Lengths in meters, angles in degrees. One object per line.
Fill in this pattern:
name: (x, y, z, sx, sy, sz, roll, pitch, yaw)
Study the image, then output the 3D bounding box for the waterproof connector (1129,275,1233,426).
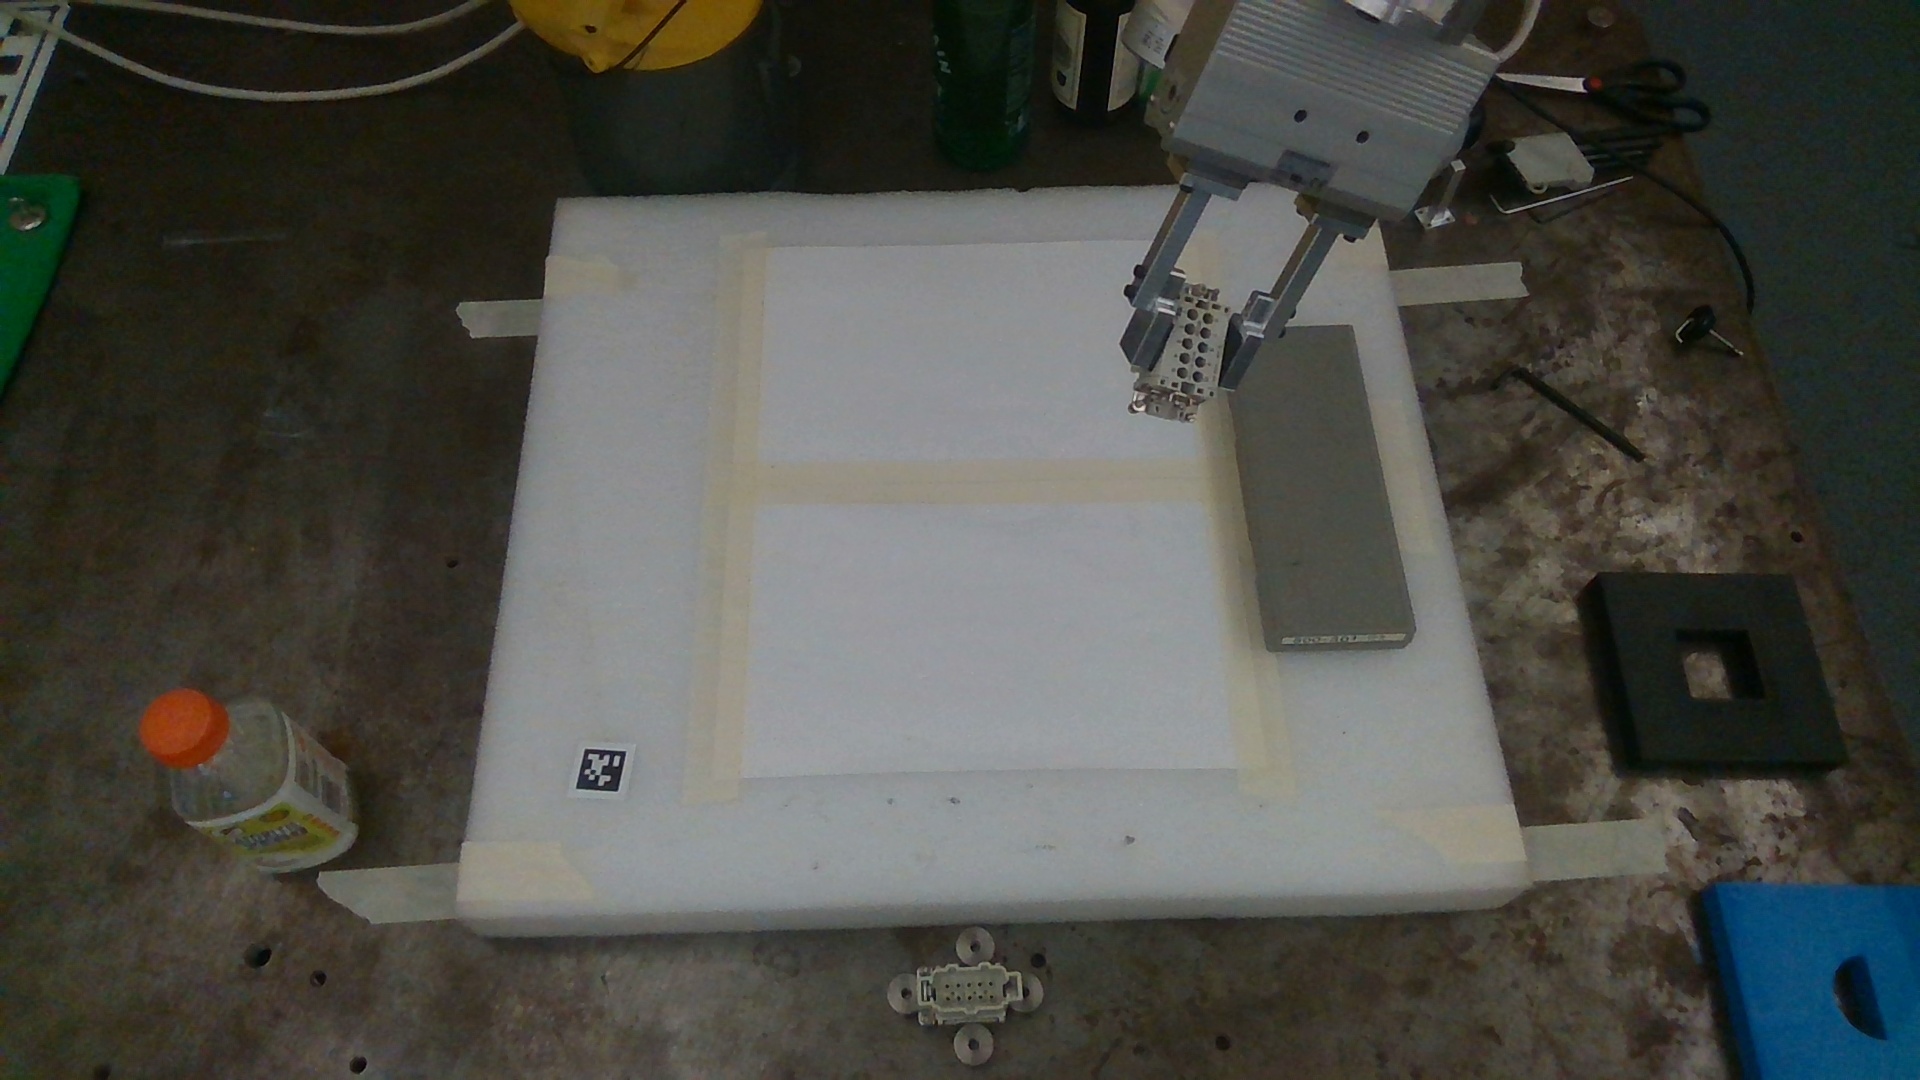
waterproof connector: (0.103, -0.090, 0.657, 0.036, 0.039, 0.069, 9, 92, -14)
